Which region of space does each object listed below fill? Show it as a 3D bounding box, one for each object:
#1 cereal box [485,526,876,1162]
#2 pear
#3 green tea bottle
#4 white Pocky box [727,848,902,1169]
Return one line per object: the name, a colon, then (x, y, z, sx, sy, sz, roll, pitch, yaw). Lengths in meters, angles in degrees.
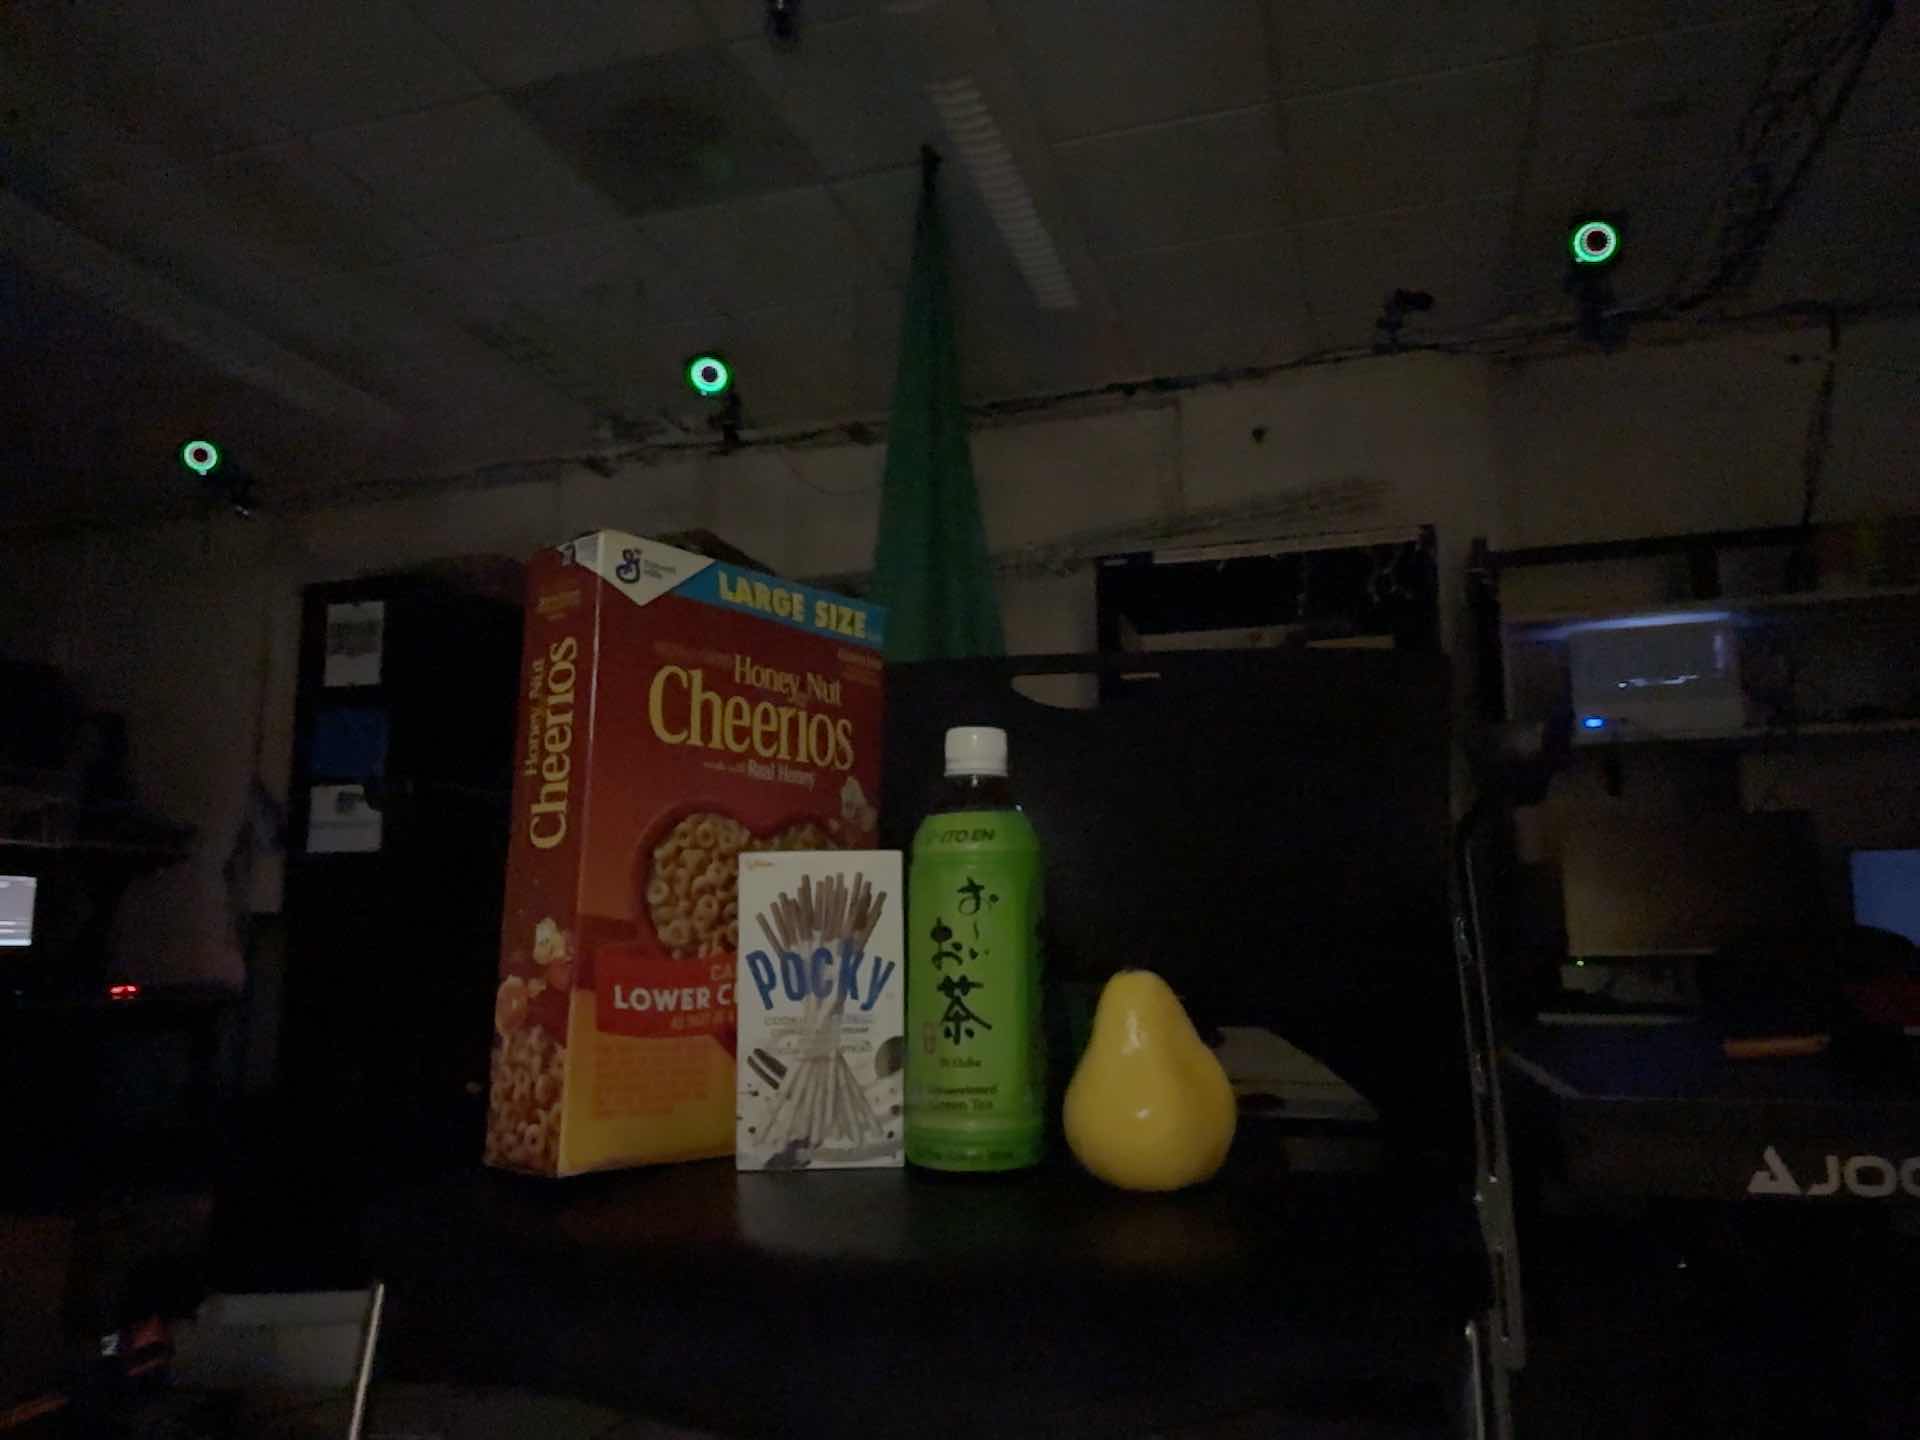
cereal box: (-0.141, 0.067, 0.731, 0.065, 0.297, 0.195, -5, -11, 38)
pear: (0.083, 0.154, 0.616, 0.080, 0.111, 0.080, -1, -13, 0)
green tea bottle: (0.007, 0.109, 0.668, 0.073, 0.212, 0.073, -3, -8, 0)
white Pocky box: (-0.071, 0.141, 0.667, 0.084, 0.154, 0.028, 0, -2, -1)
